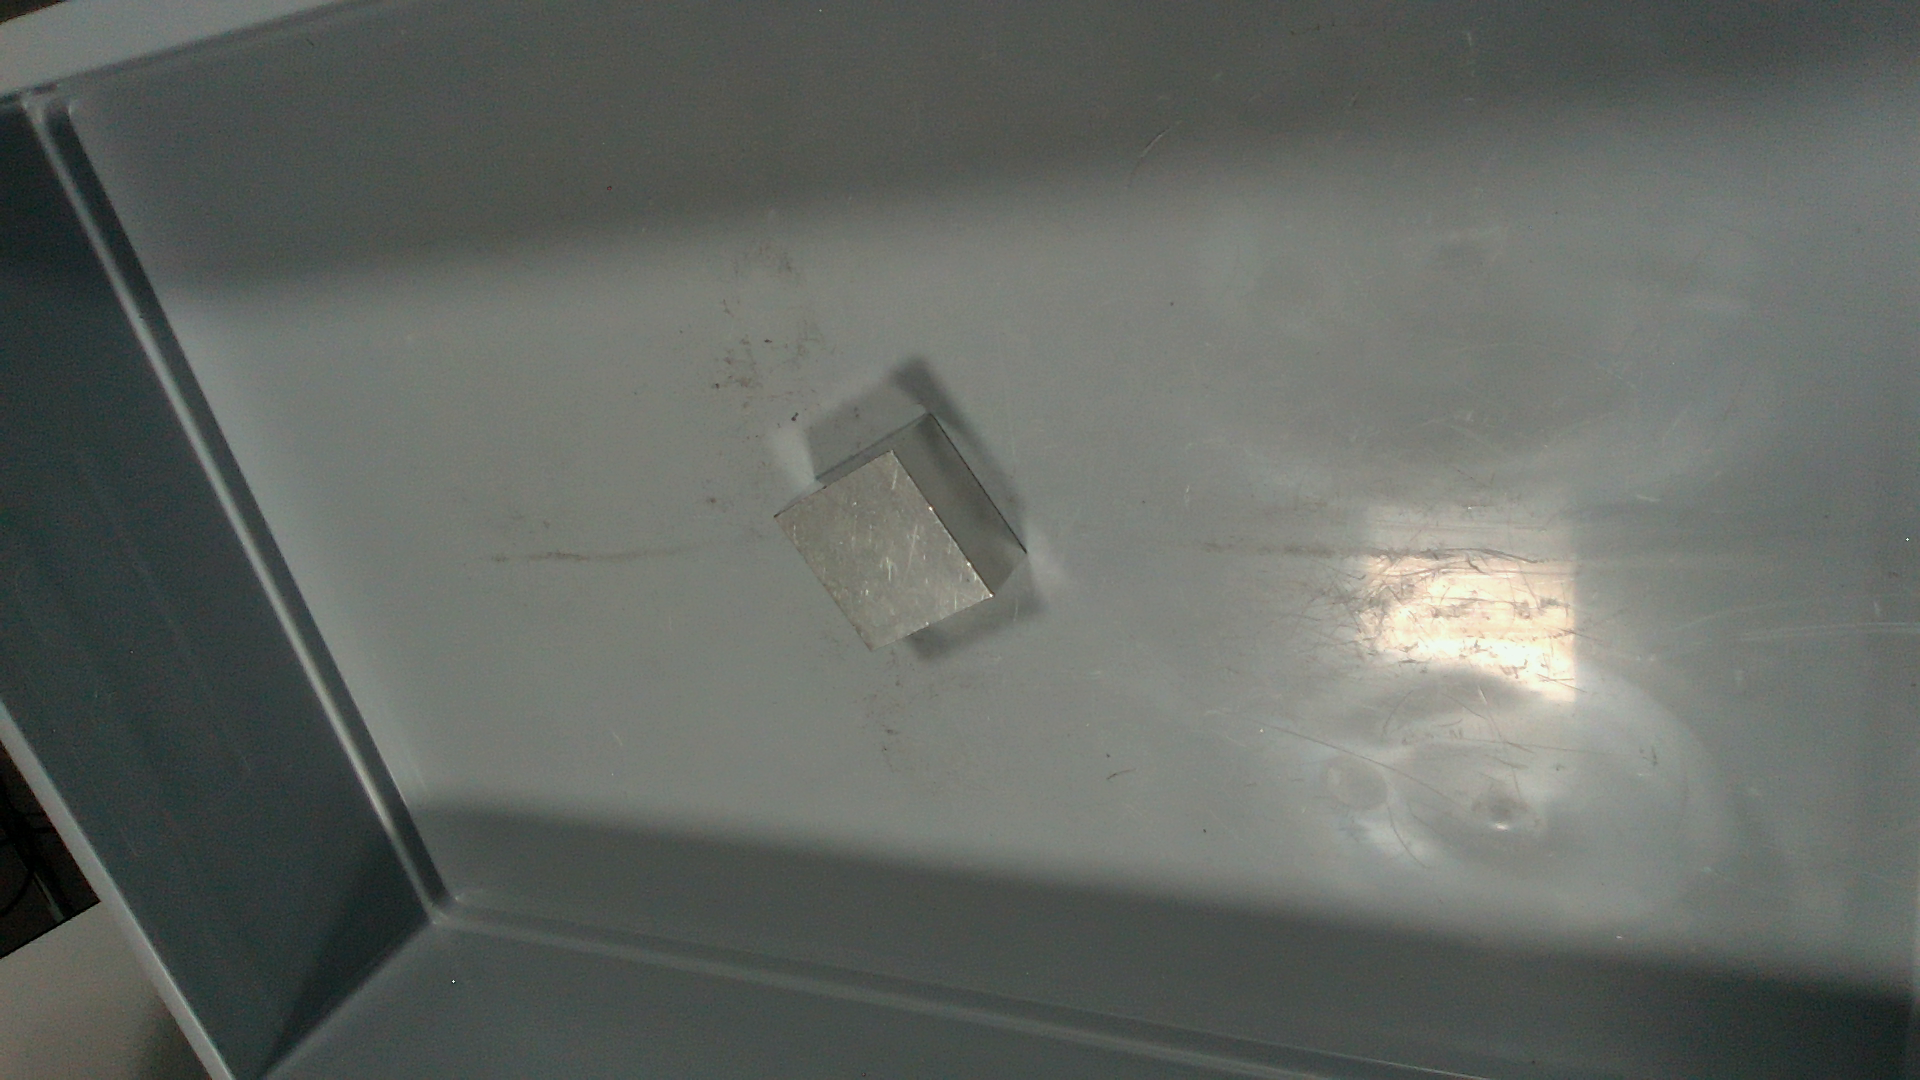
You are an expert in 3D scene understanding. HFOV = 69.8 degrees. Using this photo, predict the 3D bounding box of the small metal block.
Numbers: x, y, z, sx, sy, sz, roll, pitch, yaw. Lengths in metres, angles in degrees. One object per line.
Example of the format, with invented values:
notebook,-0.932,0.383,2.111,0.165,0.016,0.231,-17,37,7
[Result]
small metal block,-0.018,-0.002,0.398,0.050,0.025,0.050,-26,104,37
